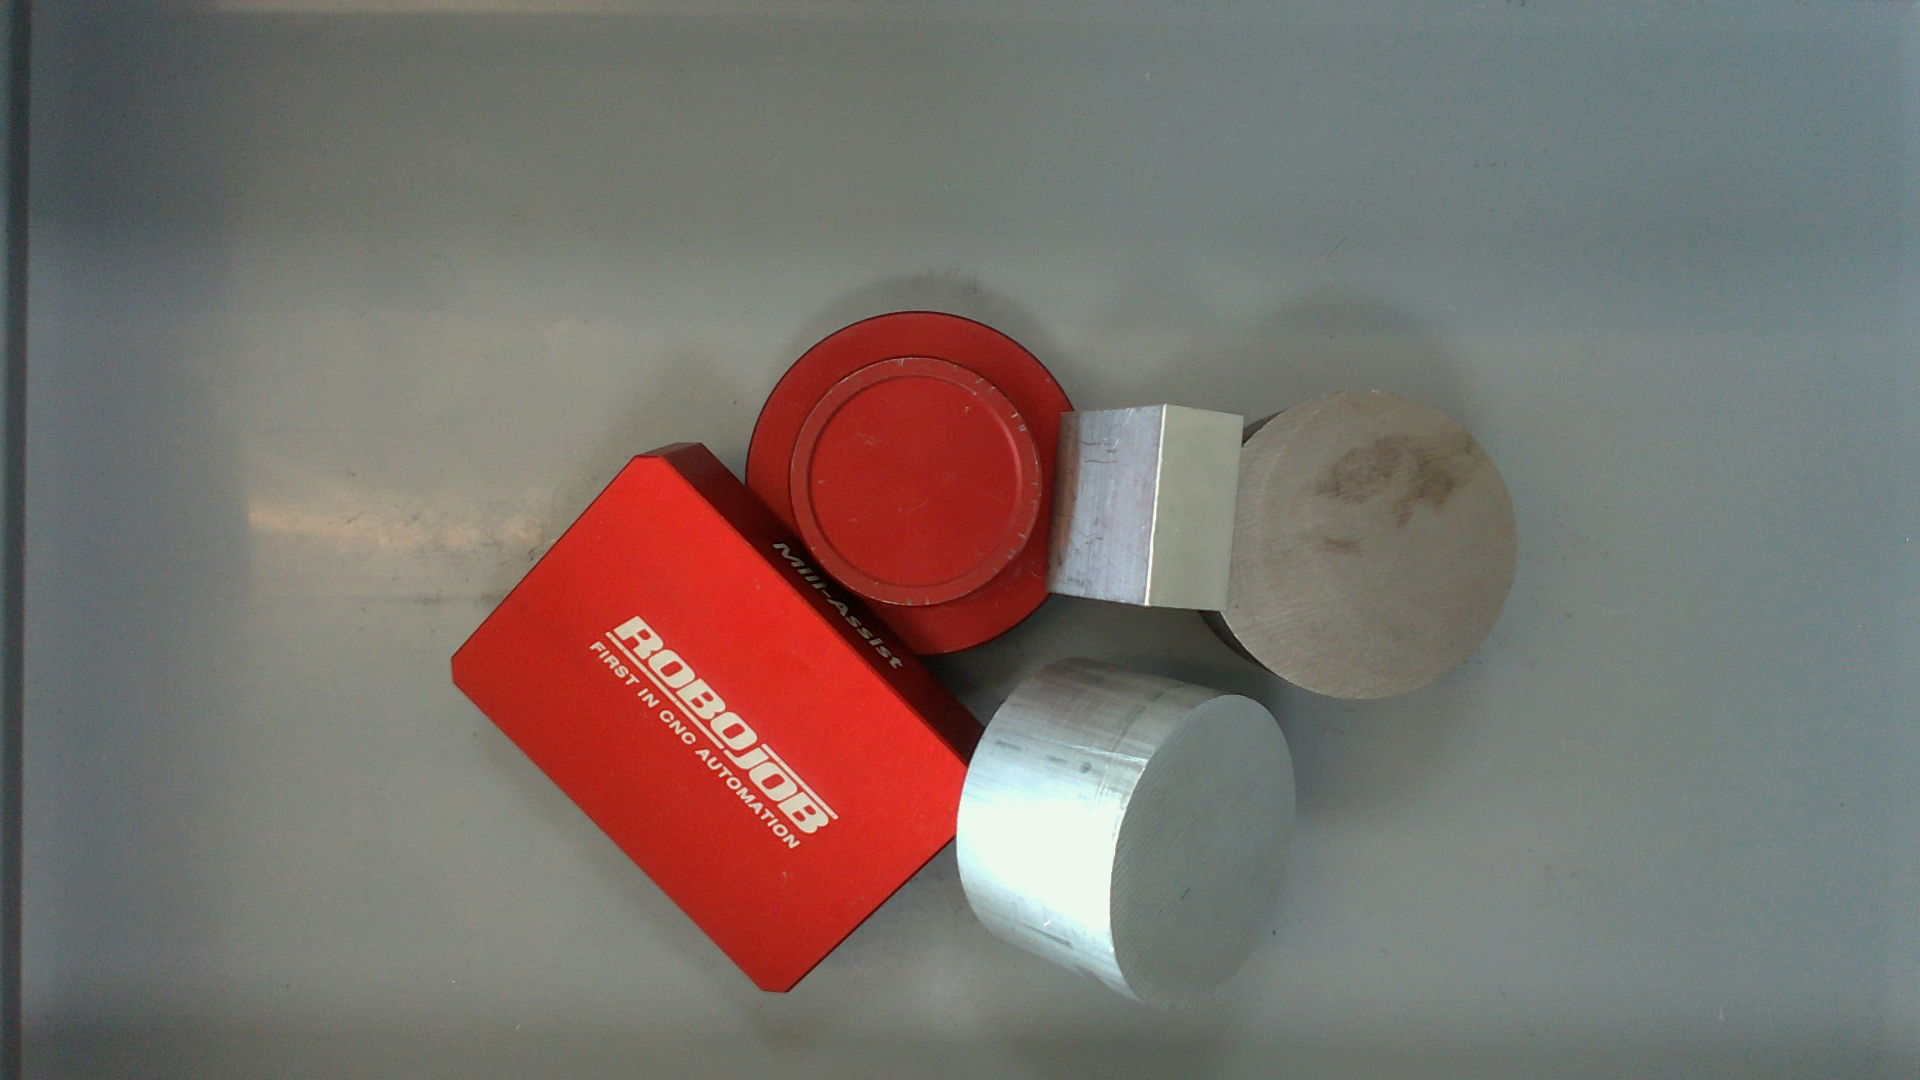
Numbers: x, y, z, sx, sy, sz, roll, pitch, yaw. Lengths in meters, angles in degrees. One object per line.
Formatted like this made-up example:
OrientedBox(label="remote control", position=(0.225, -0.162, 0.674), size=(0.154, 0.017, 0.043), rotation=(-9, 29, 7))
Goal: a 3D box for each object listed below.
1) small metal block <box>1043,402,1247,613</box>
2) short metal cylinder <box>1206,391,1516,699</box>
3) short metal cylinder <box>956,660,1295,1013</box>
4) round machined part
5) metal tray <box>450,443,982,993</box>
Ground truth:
OrientedBox(label="small metal block", position=(0.048, -0.008, 0.363), size=(0.025, 0.050, 0.050), rotation=(6, 89, -28))
OrientedBox(label="short metal cylinder", position=(0.105, 0.001, 0.382), size=(0.080, 0.050, 0.080), rotation=(0, 90, 0))
OrientedBox(label="short metal cylinder", position=(0.045, 0.075, 0.361), size=(0.050, 0.080, 0.080), rotation=(10, 90, 43))
OrientedBox(label="round machined part", position=(-0.012, -0.016, 0.385), size=(0.098, 0.042, 0.098), rotation=(0, 90, 0))
OrientedBox(label="metal tray", position=(-0.064, 0.048, 0.380), size=(0.130, 0.030, 0.090), rotation=(45, 105, -1))
